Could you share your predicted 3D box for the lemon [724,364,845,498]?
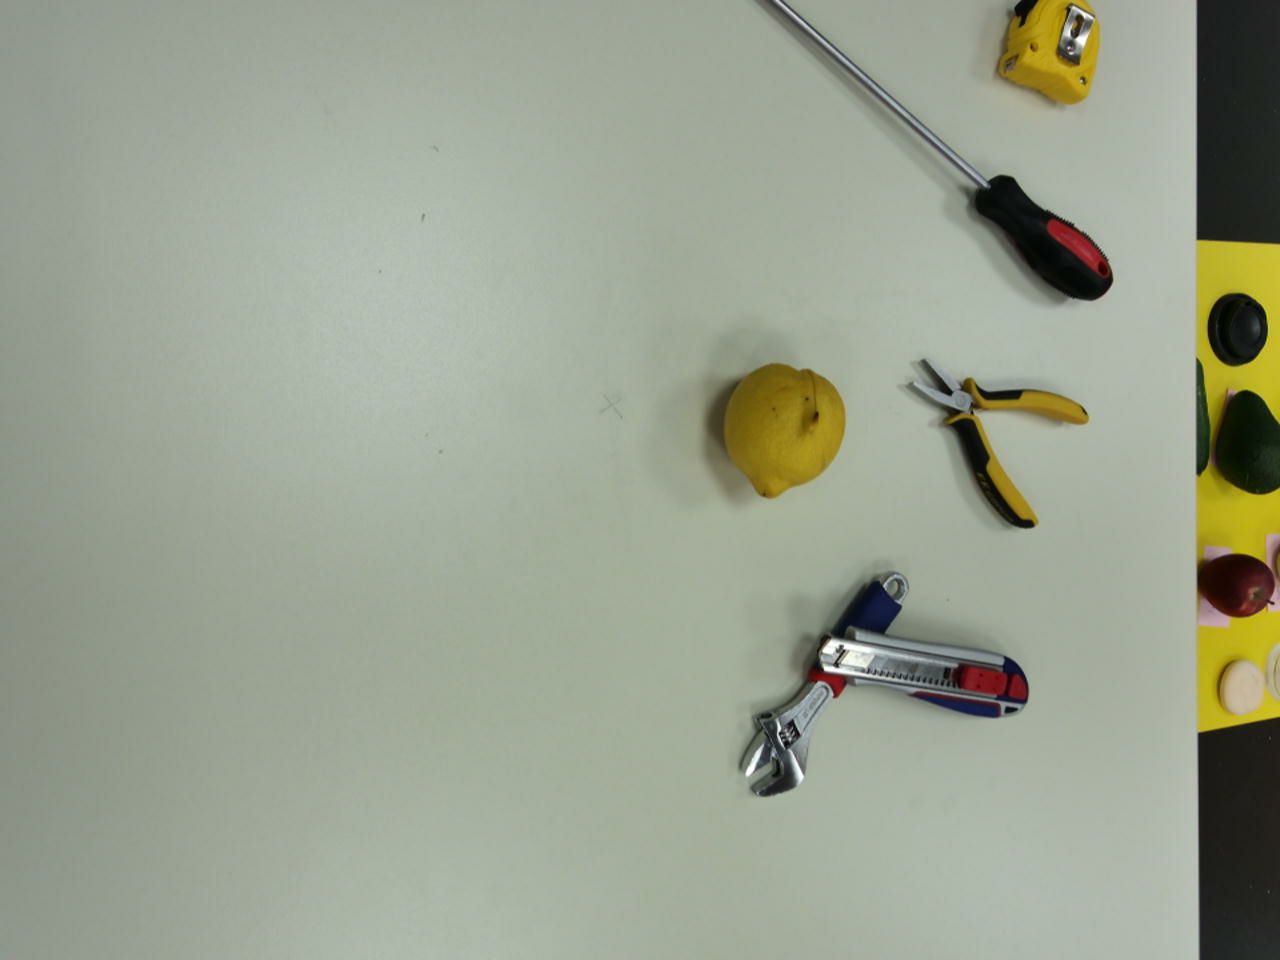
[{"bbox_3d":[0.083,-0.031,0.568,0.071,0.071,0.070,-37,103,-18],"label":"lemon"}]
